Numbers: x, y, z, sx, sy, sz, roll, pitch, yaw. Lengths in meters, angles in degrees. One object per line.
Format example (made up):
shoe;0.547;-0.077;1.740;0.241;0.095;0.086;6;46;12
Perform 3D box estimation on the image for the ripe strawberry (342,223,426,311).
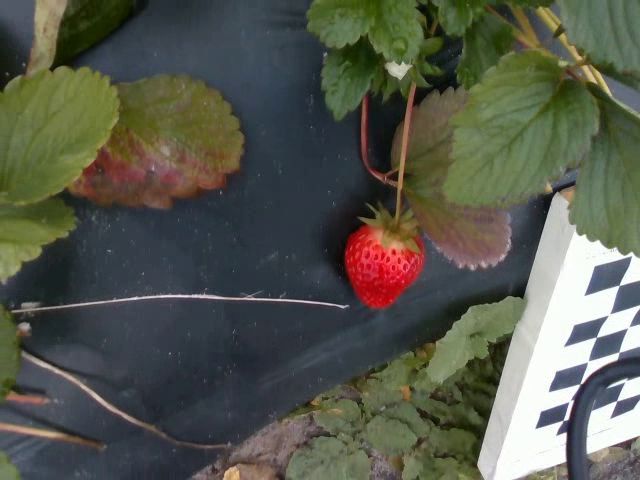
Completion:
ripe strawberry;0.020;0.010;0.188;0.028;0.033;0.023;2;37;-18
